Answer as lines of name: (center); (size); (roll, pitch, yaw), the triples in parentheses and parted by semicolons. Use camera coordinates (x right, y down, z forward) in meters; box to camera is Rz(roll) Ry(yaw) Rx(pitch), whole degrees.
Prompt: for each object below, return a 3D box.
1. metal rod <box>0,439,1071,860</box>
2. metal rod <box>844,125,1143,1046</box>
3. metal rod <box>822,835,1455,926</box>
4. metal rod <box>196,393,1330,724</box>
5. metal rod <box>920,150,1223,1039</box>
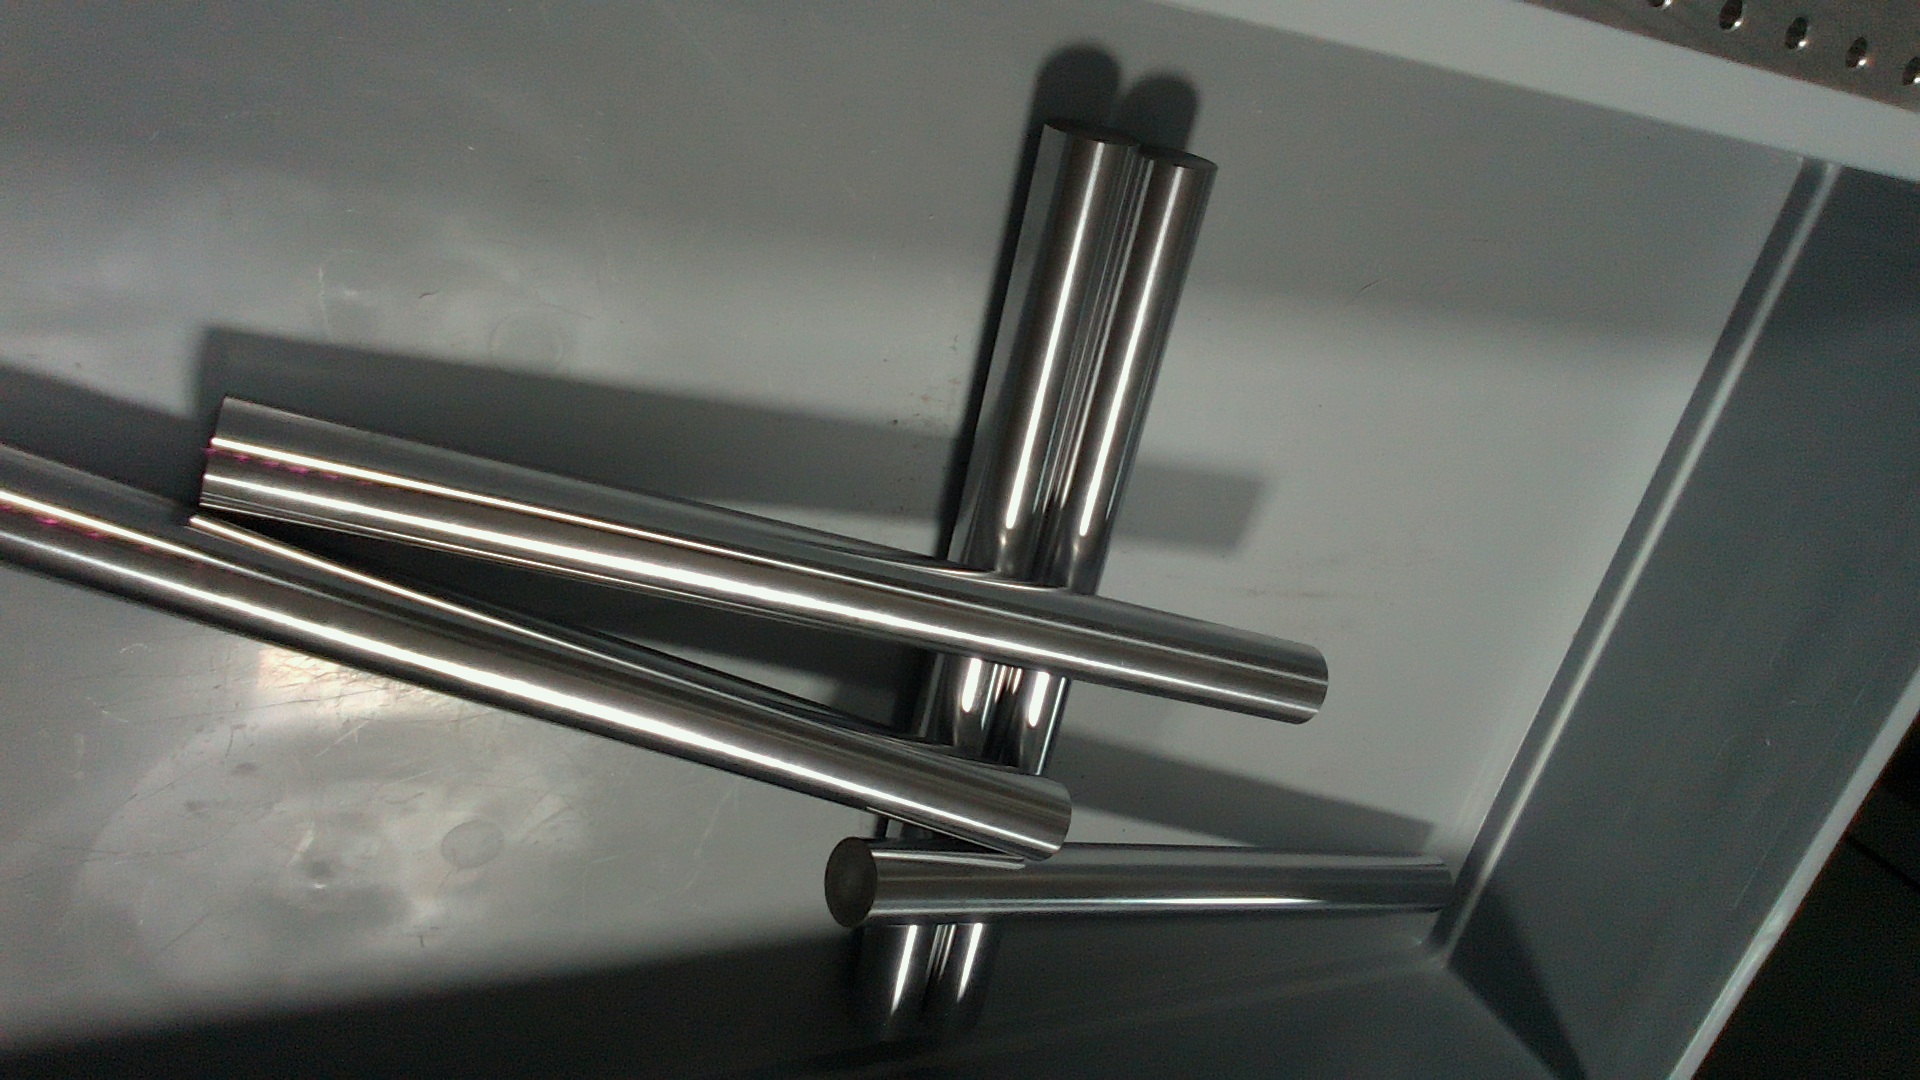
metal rod: (-0.094, 0.035, 0.342); (0.301, 0.025, 0.025); (23, 106, -31)
metal rod: (0.003, 0.032, 0.407); (0.025, 0.025, 0.300); (-1, 119, -28)
metal rod: (0.083, 0.120, 0.484); (0.301, 0.025, 0.025); (12, 113, -39)
metal rod: (-0.027, 0.013, 0.356); (0.301, 0.025, 0.025); (13, 112, -26)
metal rod: (0.025, 0.034, 0.420); (0.025, 0.025, 0.300); (-1, 119, -28)
